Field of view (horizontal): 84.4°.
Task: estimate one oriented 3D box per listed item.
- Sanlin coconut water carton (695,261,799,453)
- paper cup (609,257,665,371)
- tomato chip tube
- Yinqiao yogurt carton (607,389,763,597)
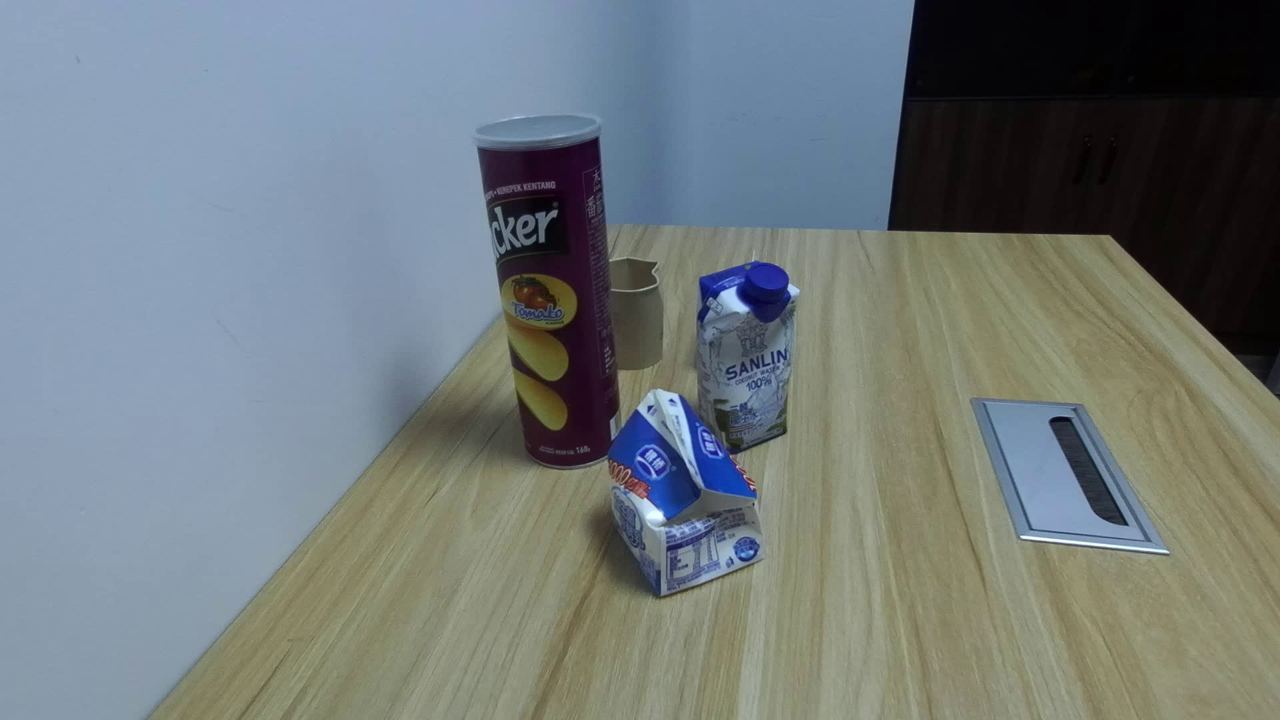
[{"bbox_3d":[0.076,-0.005,0.506,0.078,0.142,0.057,-19,38,-25],"label":"Sanlin coconut water carton"},{"bbox_3d":[-0.008,-0.039,0.635,0.073,0.081,0.069,14,34,30],"label":"paper cup"},{"bbox_3d":[-0.056,-0.040,0.490,0.078,0.234,0.078,-3,28,2],"label":"tomato chip tube"},{"bbox_3d":[0.025,0.071,0.422,0.077,0.093,0.083,-15,32,-19],"label":"Yinqiao yogurt carton"}]
